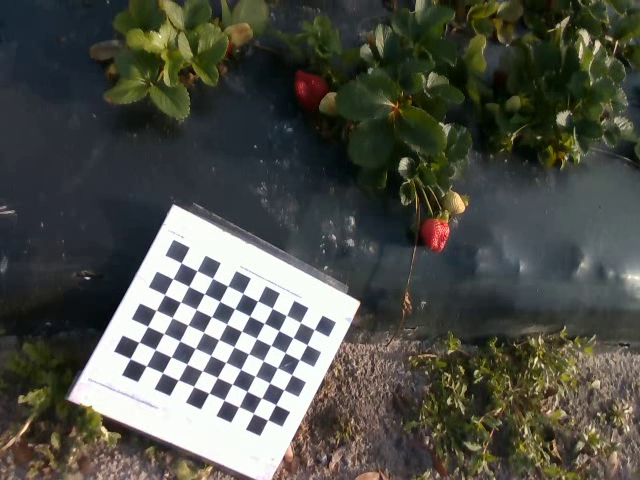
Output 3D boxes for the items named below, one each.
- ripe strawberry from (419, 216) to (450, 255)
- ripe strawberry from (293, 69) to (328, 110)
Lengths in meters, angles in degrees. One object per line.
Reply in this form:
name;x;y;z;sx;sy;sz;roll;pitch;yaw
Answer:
ripe strawberry;0.174;-0.006;1.023;0.047;0.050;0.034;7;-5;-18
ripe strawberry;-0.020;-0.232;1.052;0.057;0.058;0.070;27;-13;48
